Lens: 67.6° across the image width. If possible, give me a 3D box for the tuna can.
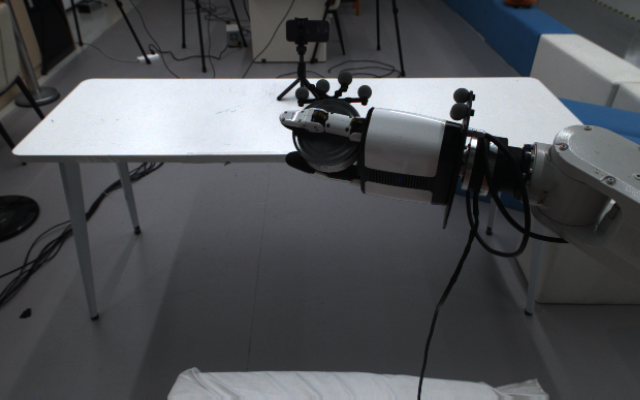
[{"bbox_3d":[0.013,-0.078,0.592,0.085,0.034,0.085,-3,73,10],"label":"tuna can"}]
